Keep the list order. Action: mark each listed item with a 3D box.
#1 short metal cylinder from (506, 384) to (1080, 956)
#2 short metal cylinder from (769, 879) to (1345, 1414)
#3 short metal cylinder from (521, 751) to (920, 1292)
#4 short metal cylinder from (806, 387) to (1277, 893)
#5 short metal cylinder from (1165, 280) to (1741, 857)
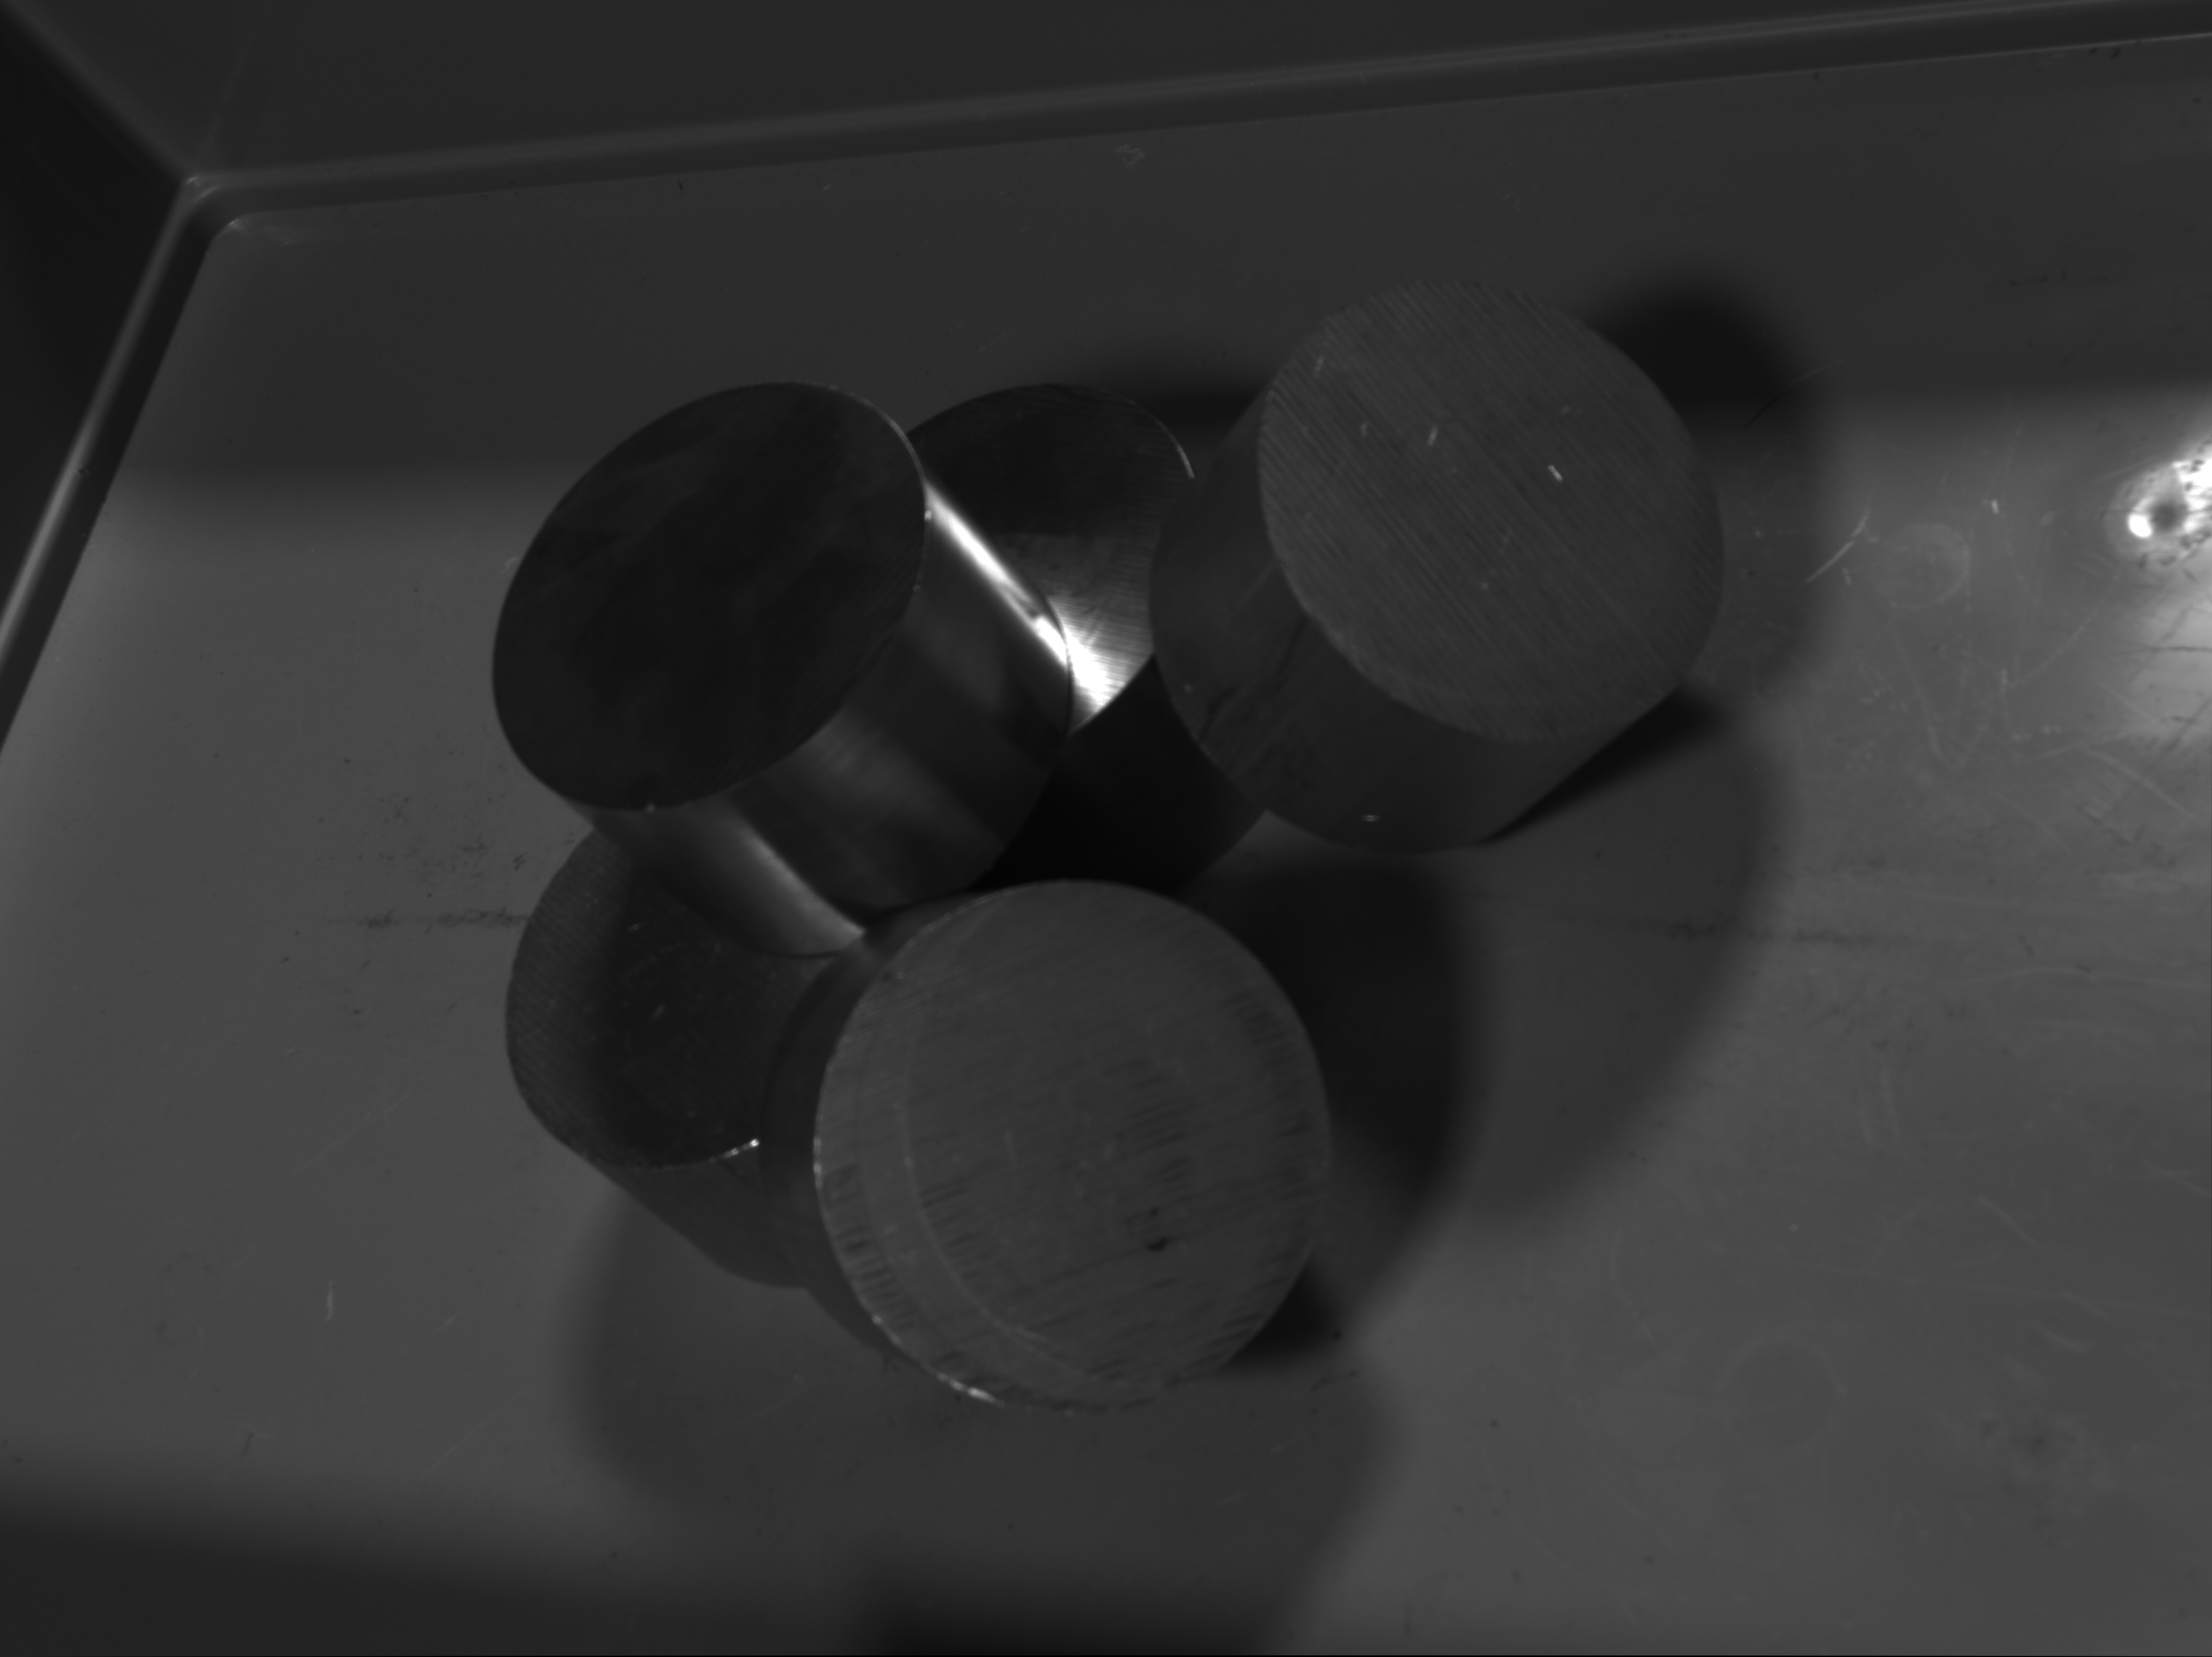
[{"bbox_3d":[-0.051,-0.026,0.604,0.080,0.050,0.080,-13,56,21],"label":"short metal cylinder"},{"bbox_3d":[-0.009,0.049,0.573,0.080,0.080,0.050,-55,11,-11],"label":"short metal cylinder"},{"bbox_3d":[-0.054,0.034,0.636,0.080,0.050,0.080,-13,56,21],"label":"short metal cylinder"},{"bbox_3d":[-0.007,-0.031,0.649,0.080,0.050,0.080,-13,56,21],"label":"short metal cylinder"},{"bbox_3d":[0.056,-0.042,0.596,0.080,0.050,0.080,7,66,-17],"label":"short metal cylinder"}]
